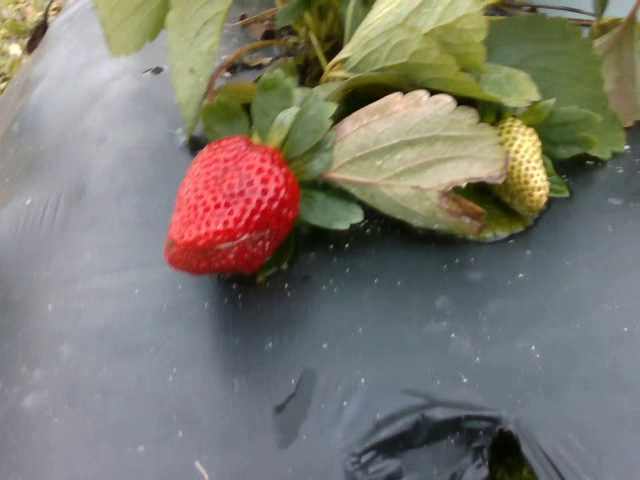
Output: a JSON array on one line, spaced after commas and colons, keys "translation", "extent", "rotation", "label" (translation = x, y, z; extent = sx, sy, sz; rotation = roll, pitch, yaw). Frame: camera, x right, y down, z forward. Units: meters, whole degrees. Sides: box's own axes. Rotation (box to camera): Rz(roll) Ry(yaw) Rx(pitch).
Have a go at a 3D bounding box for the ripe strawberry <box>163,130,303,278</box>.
[{"translation": [-0.033, -0.009, 0.186], "extent": [0.046, 0.049, 0.064], "rotation": [-51, -5, 37], "label": "ripe strawberry"}]
